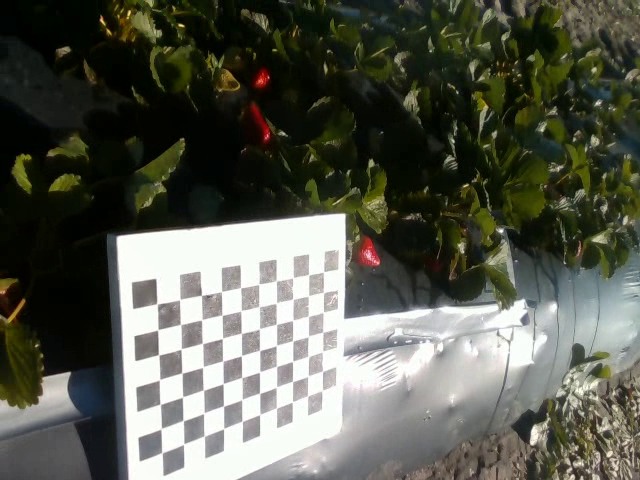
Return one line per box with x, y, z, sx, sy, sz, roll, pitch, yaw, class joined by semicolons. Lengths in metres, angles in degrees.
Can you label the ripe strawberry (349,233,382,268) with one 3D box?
0.066;0.020;0.864;0.029;0.048;0.055;11;-31;46;ripe strawberry
